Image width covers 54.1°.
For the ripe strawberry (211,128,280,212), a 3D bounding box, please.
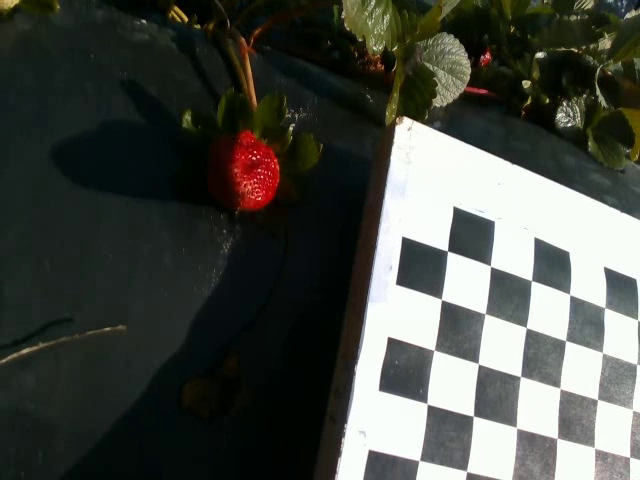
[{"bbox_3d":[-0.012,-0.011,0.094,0.016,0.015,0.023,27,13,-16],"label":"ripe strawberry"}]
